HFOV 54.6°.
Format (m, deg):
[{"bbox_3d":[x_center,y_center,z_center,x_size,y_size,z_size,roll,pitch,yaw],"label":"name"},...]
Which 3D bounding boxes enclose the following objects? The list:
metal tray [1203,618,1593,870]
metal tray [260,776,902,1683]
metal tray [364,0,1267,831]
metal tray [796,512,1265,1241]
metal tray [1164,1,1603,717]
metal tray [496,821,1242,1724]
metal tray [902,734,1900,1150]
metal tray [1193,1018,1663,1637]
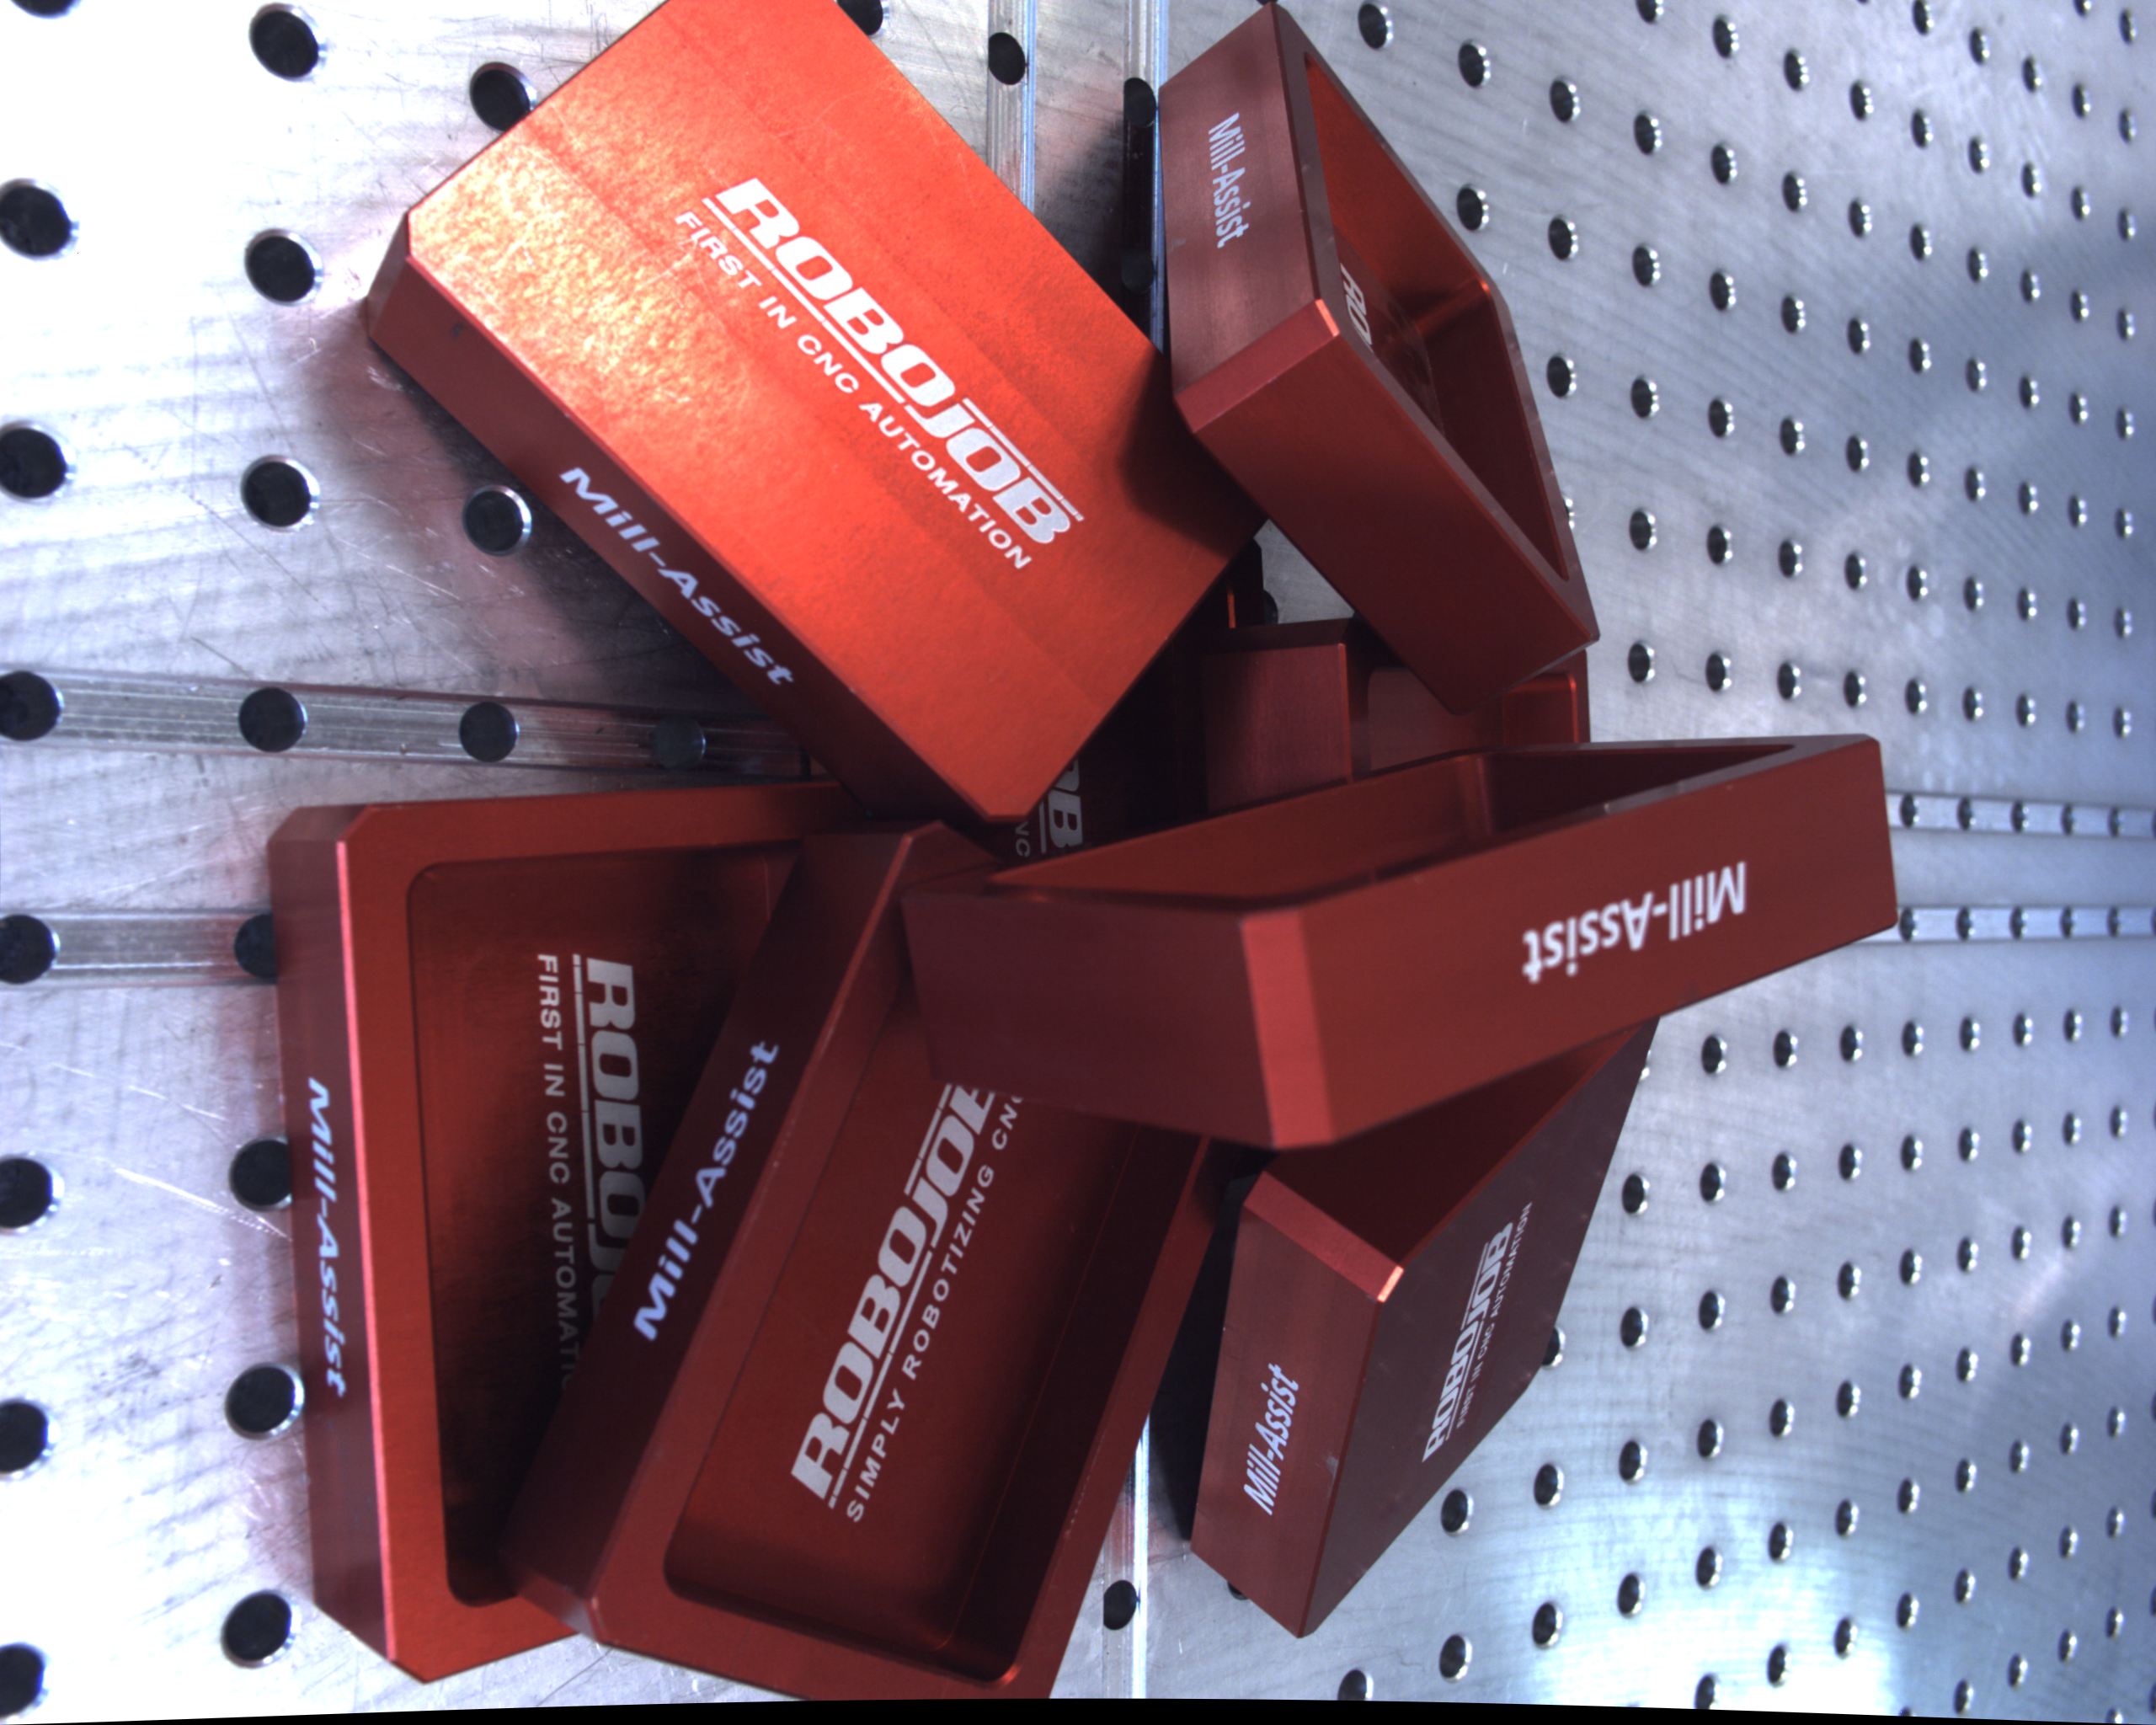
[{"bbox_3d":[0.074,-0.005,0.442,0.131,0.030,0.090,-8,96,-57],"label":"metal tray"},{"bbox_3d":[-0.078,0.053,0.340,0.091,0.030,0.129,-6,93,-40],"label":"metal tray"},{"bbox_3d":[-0.039,-0.077,0.351,0.130,0.030,0.090,44,63,-14],"label":"metal tray"},{"bbox_3d":[-0.003,0.000,0.402,0.091,0.030,0.129,-6,92,-41],"label":"metal tray"},{"bbox_3d":[0.057,-0.101,0.408,0.090,0.030,0.130,40,33,-32],"label":"metal tray"},{"bbox_3d":[-0.026,0.069,0.344,0.090,0.030,0.130,33,70,-35],"label":"metal tray"},{"bbox_3d":[0.051,0.007,0.324,0.131,0.090,0.030,-14,99,-35],"label":"metal tray"},{"bbox_3d":[0.068,0.087,0.418,0.091,0.030,0.129,-36,145,-34],"label":"metal tray"}]
